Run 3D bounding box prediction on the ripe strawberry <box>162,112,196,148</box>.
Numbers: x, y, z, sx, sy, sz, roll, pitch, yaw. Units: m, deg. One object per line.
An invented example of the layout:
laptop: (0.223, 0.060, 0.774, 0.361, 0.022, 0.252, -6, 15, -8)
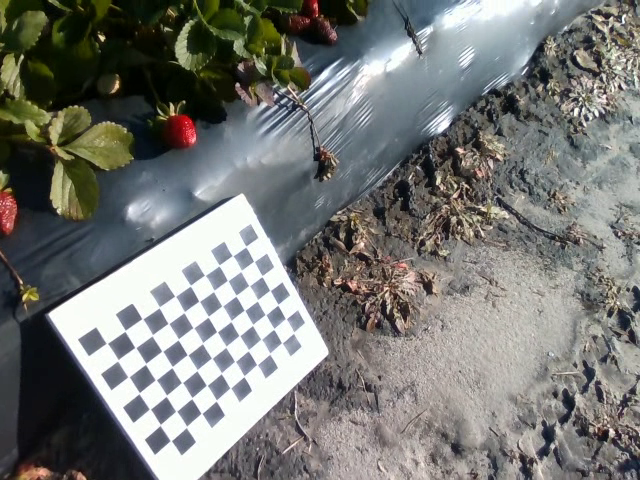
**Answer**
ripe strawberry: (-0.163, -0.120, 0.702, 0.042, 0.043, 0.050, 6, 35, -37)
